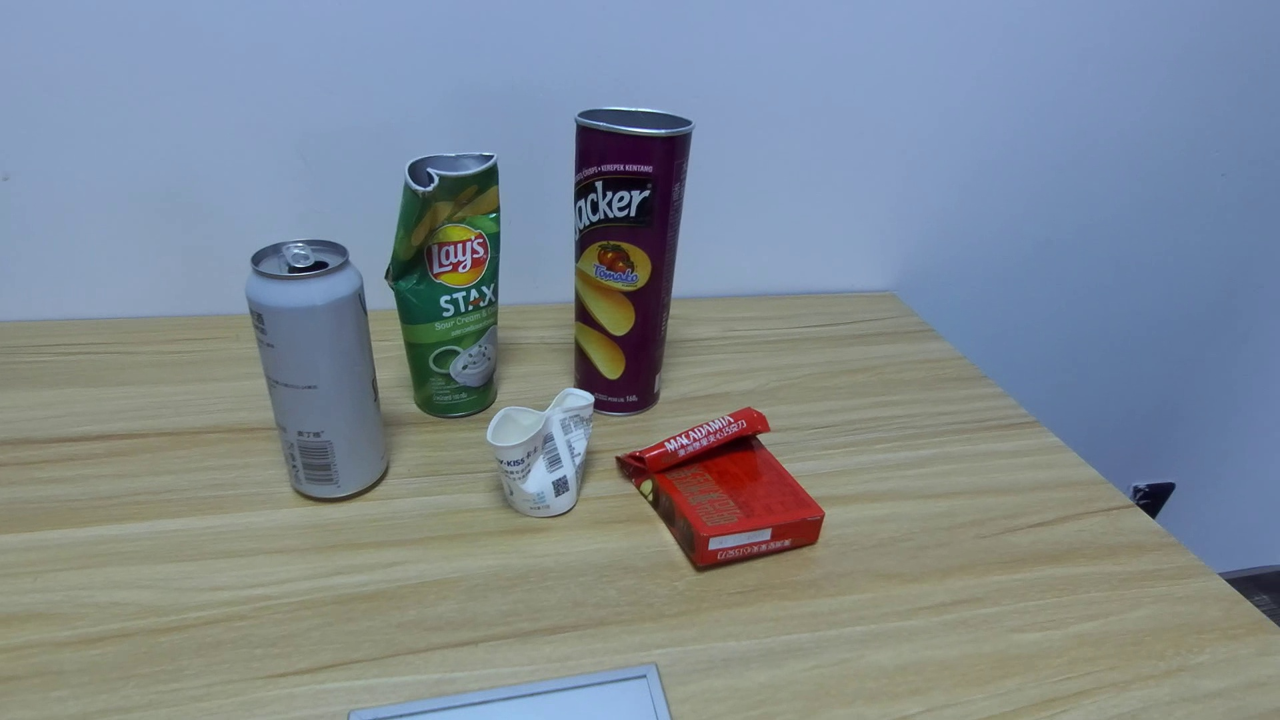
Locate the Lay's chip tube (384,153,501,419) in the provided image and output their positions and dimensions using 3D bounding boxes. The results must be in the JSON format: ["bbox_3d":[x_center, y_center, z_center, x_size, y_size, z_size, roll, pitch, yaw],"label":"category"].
[{"bbox_3d":[-0.149,-0.055,0.554,0.069,0.201,0.077,6,34,1],"label":"Lay's chip tube"}]

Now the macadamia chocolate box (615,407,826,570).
[{"bbox_3d":[0.054,0.088,0.504,0.112,0.056,0.126,-20,39,-10],"label":"macadamia chocolate box"}]

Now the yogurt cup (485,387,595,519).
[{"bbox_3d":[-0.067,0.065,0.490,0.053,0.071,0.075,14,34,12],"label":"yogurt cup"}]

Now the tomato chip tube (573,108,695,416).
[{"bbox_3d":[-0.011,-0.072,0.563,0.080,0.234,0.077,29,38,35],"label":"tomato chip tube"}]

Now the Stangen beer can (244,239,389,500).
[{"bbox_3d":[-0.210,0.010,0.468,0.067,0.171,0.067,3,30,-1],"label":"Stangen beer can"}]
